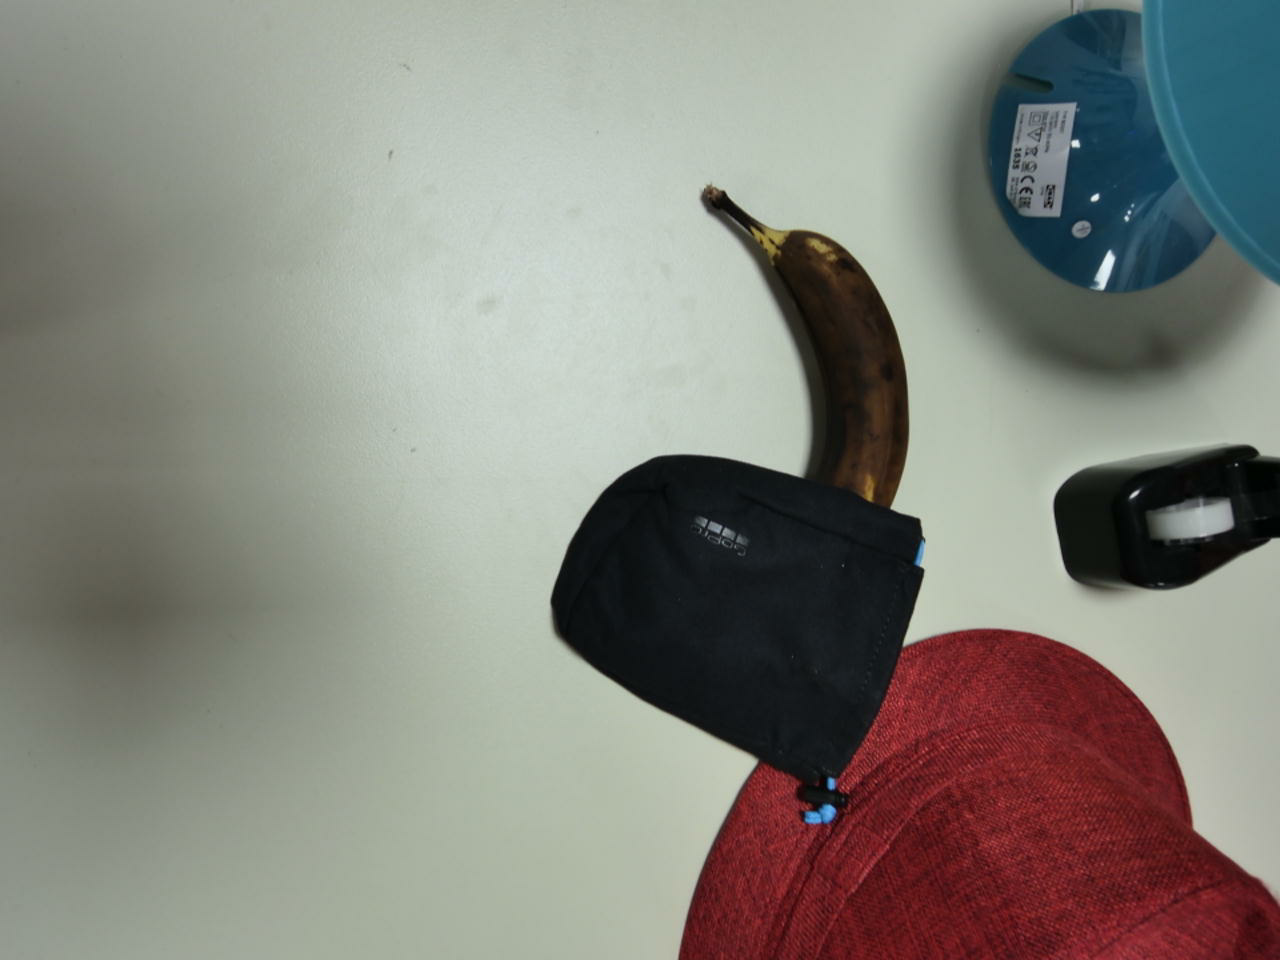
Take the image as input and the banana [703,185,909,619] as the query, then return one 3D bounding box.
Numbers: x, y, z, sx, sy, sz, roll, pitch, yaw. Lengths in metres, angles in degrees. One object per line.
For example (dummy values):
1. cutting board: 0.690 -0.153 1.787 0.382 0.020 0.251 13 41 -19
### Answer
1. banana: 0.074 -0.034 0.434 0.091 0.034 0.188 0 91 -11
